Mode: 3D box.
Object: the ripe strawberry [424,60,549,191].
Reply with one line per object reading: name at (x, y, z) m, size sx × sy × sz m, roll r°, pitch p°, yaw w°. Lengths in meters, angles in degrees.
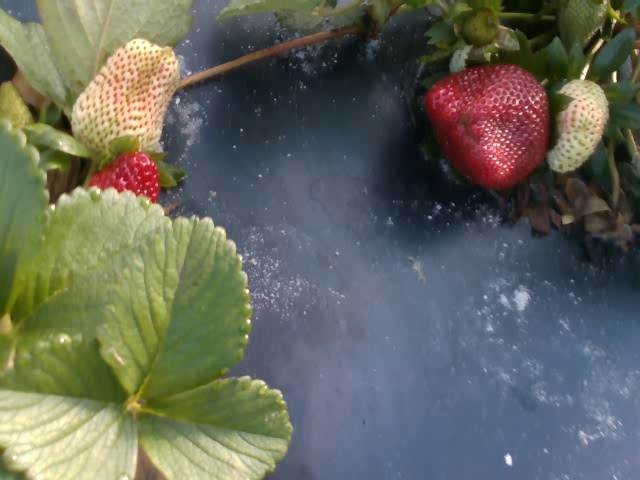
ripe strawberry at (0.068, -0.046, 0.254) m, size 0.057 × 0.058 × 0.071 m, roll 5°, pitch 8°, yaw 32°
